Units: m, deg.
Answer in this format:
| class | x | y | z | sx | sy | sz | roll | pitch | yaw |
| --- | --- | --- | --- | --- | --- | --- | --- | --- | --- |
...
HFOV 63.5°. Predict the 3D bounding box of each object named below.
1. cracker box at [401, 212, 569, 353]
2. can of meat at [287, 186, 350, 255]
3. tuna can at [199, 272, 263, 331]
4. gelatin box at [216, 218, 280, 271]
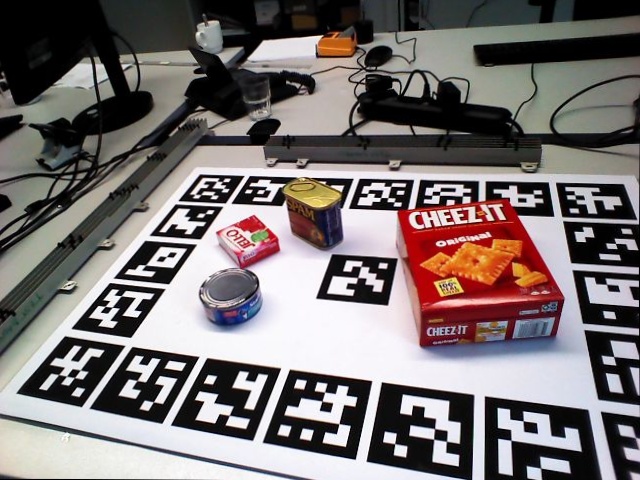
| class | x | y | z | sx | sy | sz | roll | pitch | yaw |
| --- | --- | --- | --- | --- | --- | --- | --- | --- | --- |
| cracker box | 0.205 | 0.047 | 0.694 | 0.164 | 0.072 | 0.212 | -5 | 34 | 2 |
| can of meat | -0.001 | -0.031 | 0.841 | 0.057 | 0.084 | 0.102 | -34 | 41 | -32 |
| tuna can | -0.124 | 0.086 | 0.728 | 0.086 | 0.034 | 0.085 | -7 | 38 | 5 |
| gelatin box | -0.118 | 0.005 | 0.849 | 0.073 | 0.030 | 0.089 | -23 | 40 | -25 |
